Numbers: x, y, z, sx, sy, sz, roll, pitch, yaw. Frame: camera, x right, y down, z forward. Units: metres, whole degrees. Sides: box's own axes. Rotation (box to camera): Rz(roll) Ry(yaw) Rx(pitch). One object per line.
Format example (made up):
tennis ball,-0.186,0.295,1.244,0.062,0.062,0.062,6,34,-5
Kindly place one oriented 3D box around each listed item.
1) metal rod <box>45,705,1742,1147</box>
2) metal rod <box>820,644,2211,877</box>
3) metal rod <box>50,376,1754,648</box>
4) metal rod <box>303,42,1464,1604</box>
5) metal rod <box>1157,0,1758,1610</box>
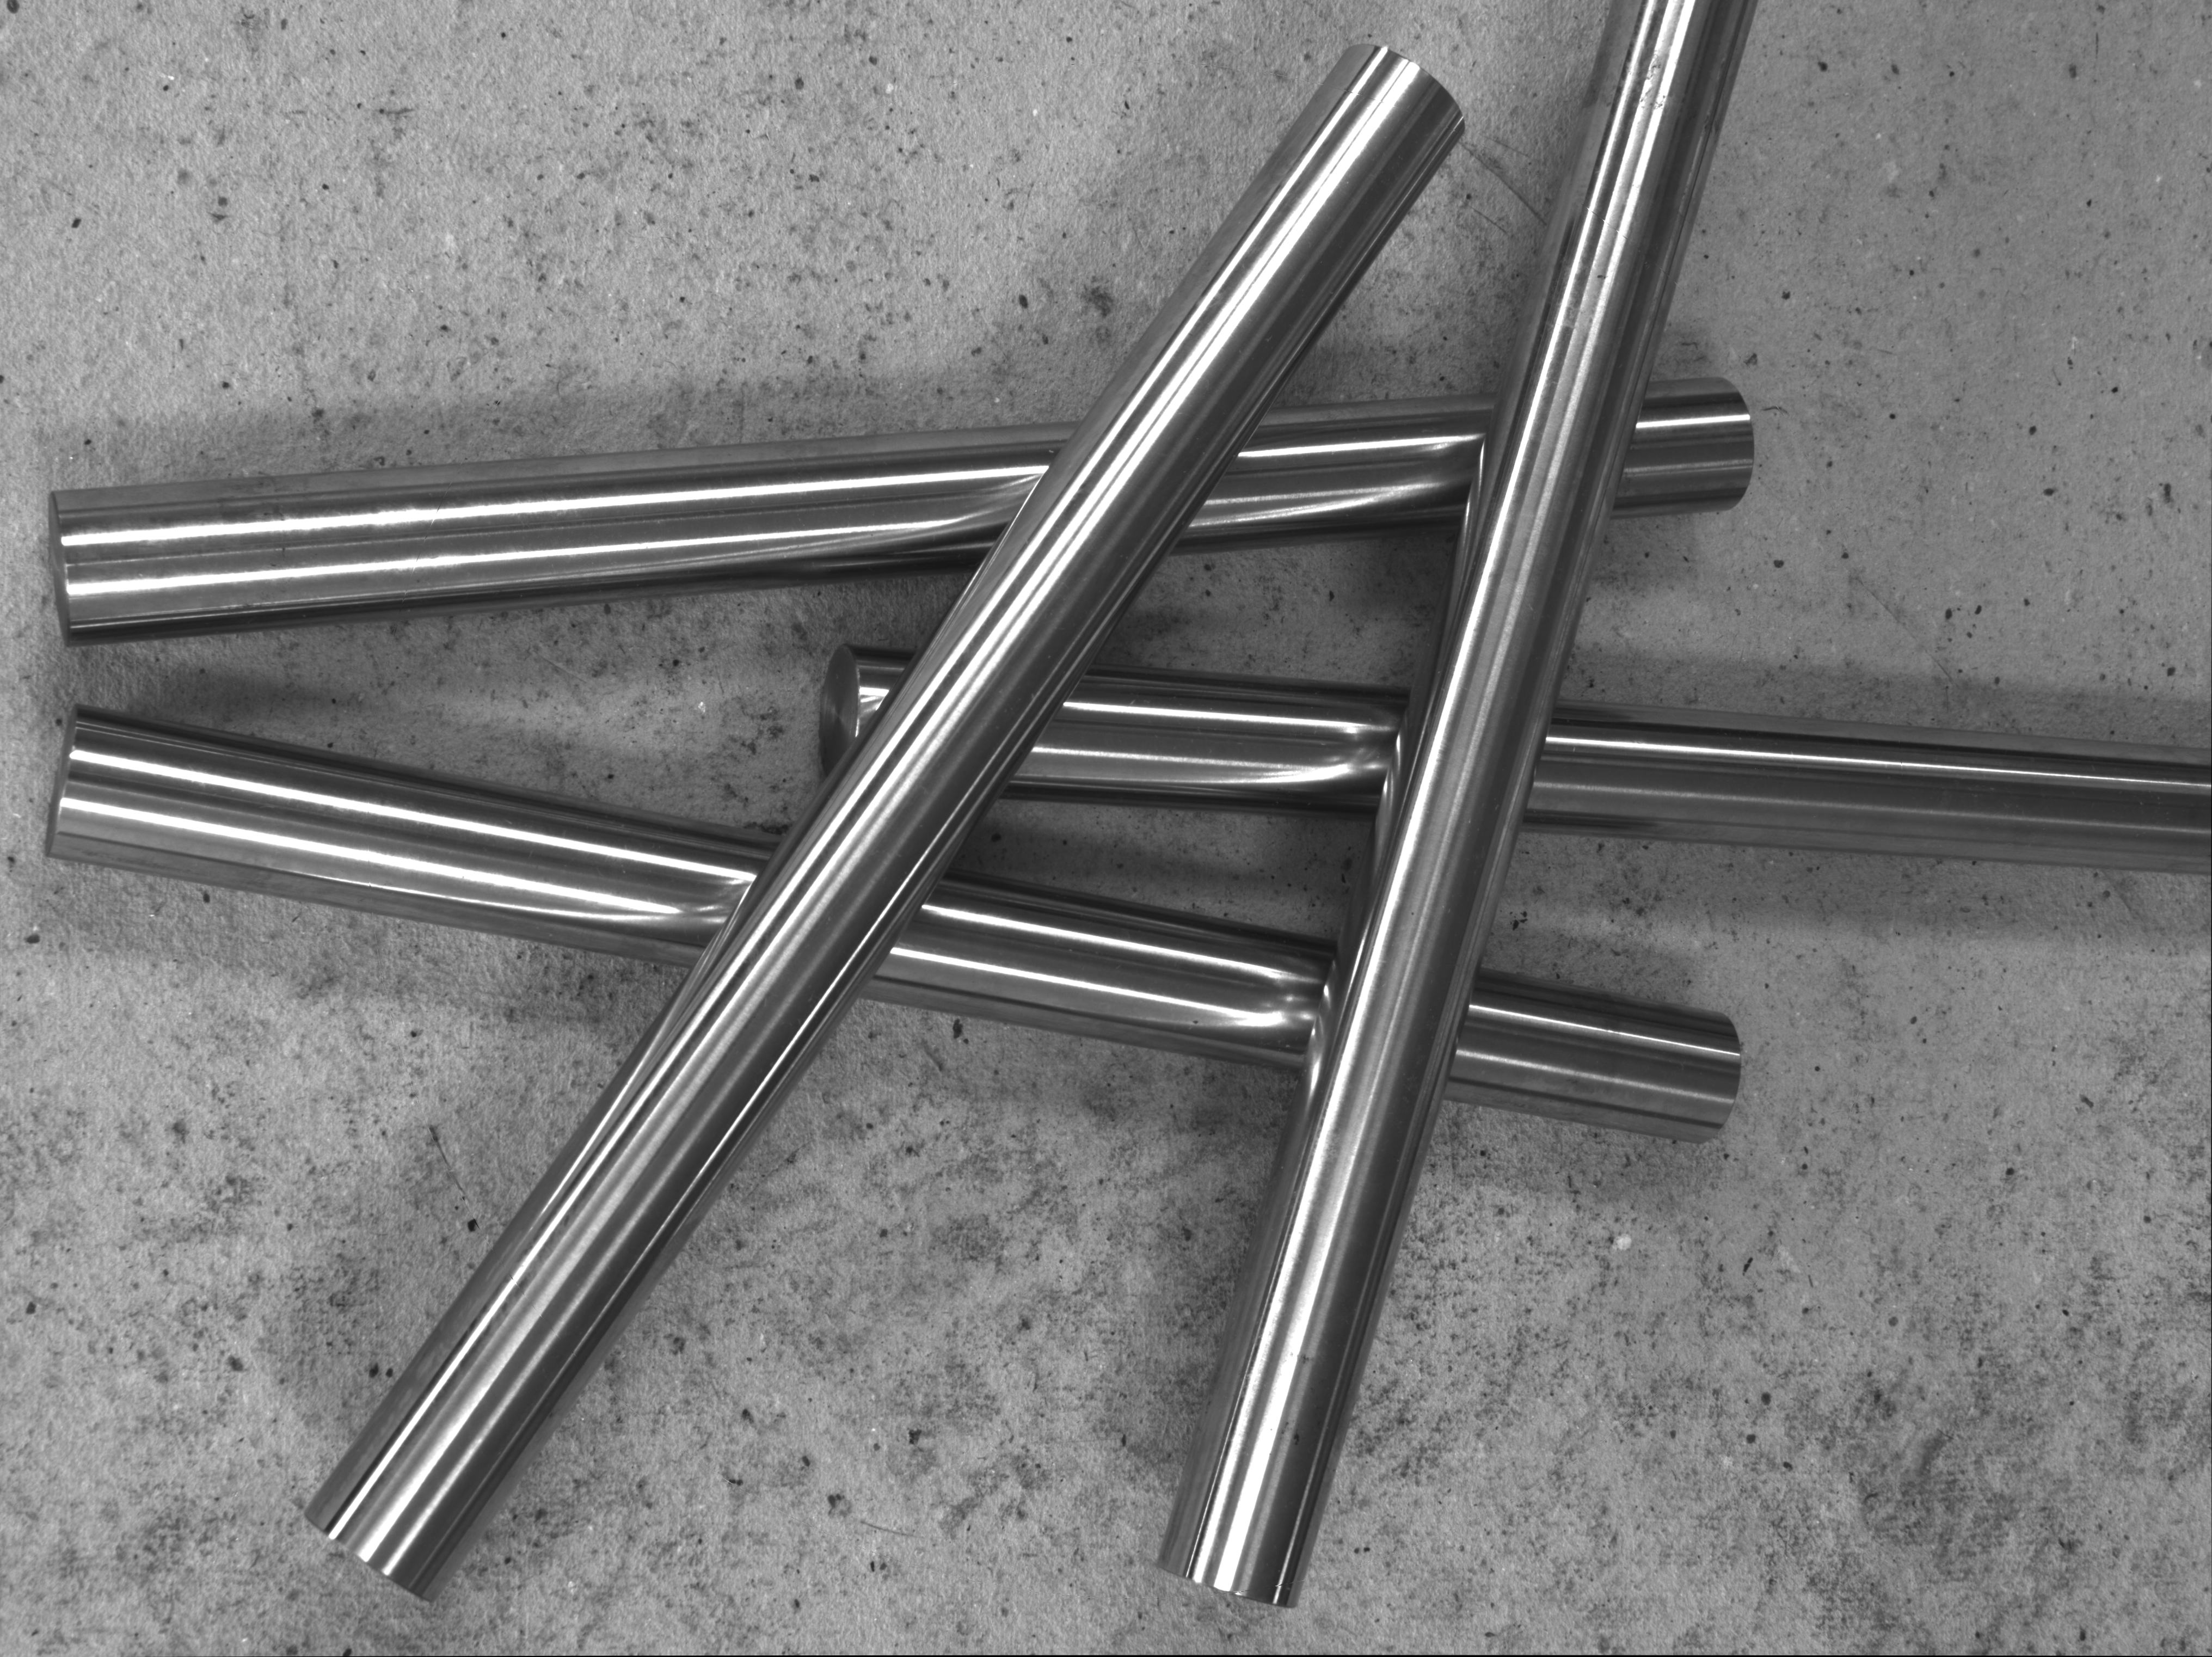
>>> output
metal rod,-0.027,0.020,0.633,0.301,0.025,0.025,11,86,-20
metal rod,0.096,-0.010,0.678,0.301,0.025,0.025,3,89,-20
metal rod,-0.026,-0.057,0.634,0.301,0.025,0.025,-6,92,-20
metal rod,-0.032,-0.007,0.605,0.025,0.025,0.300,38,78,-16
metal rod,0.063,-0.014,0.640,0.025,0.025,0.300,19,84,-19
